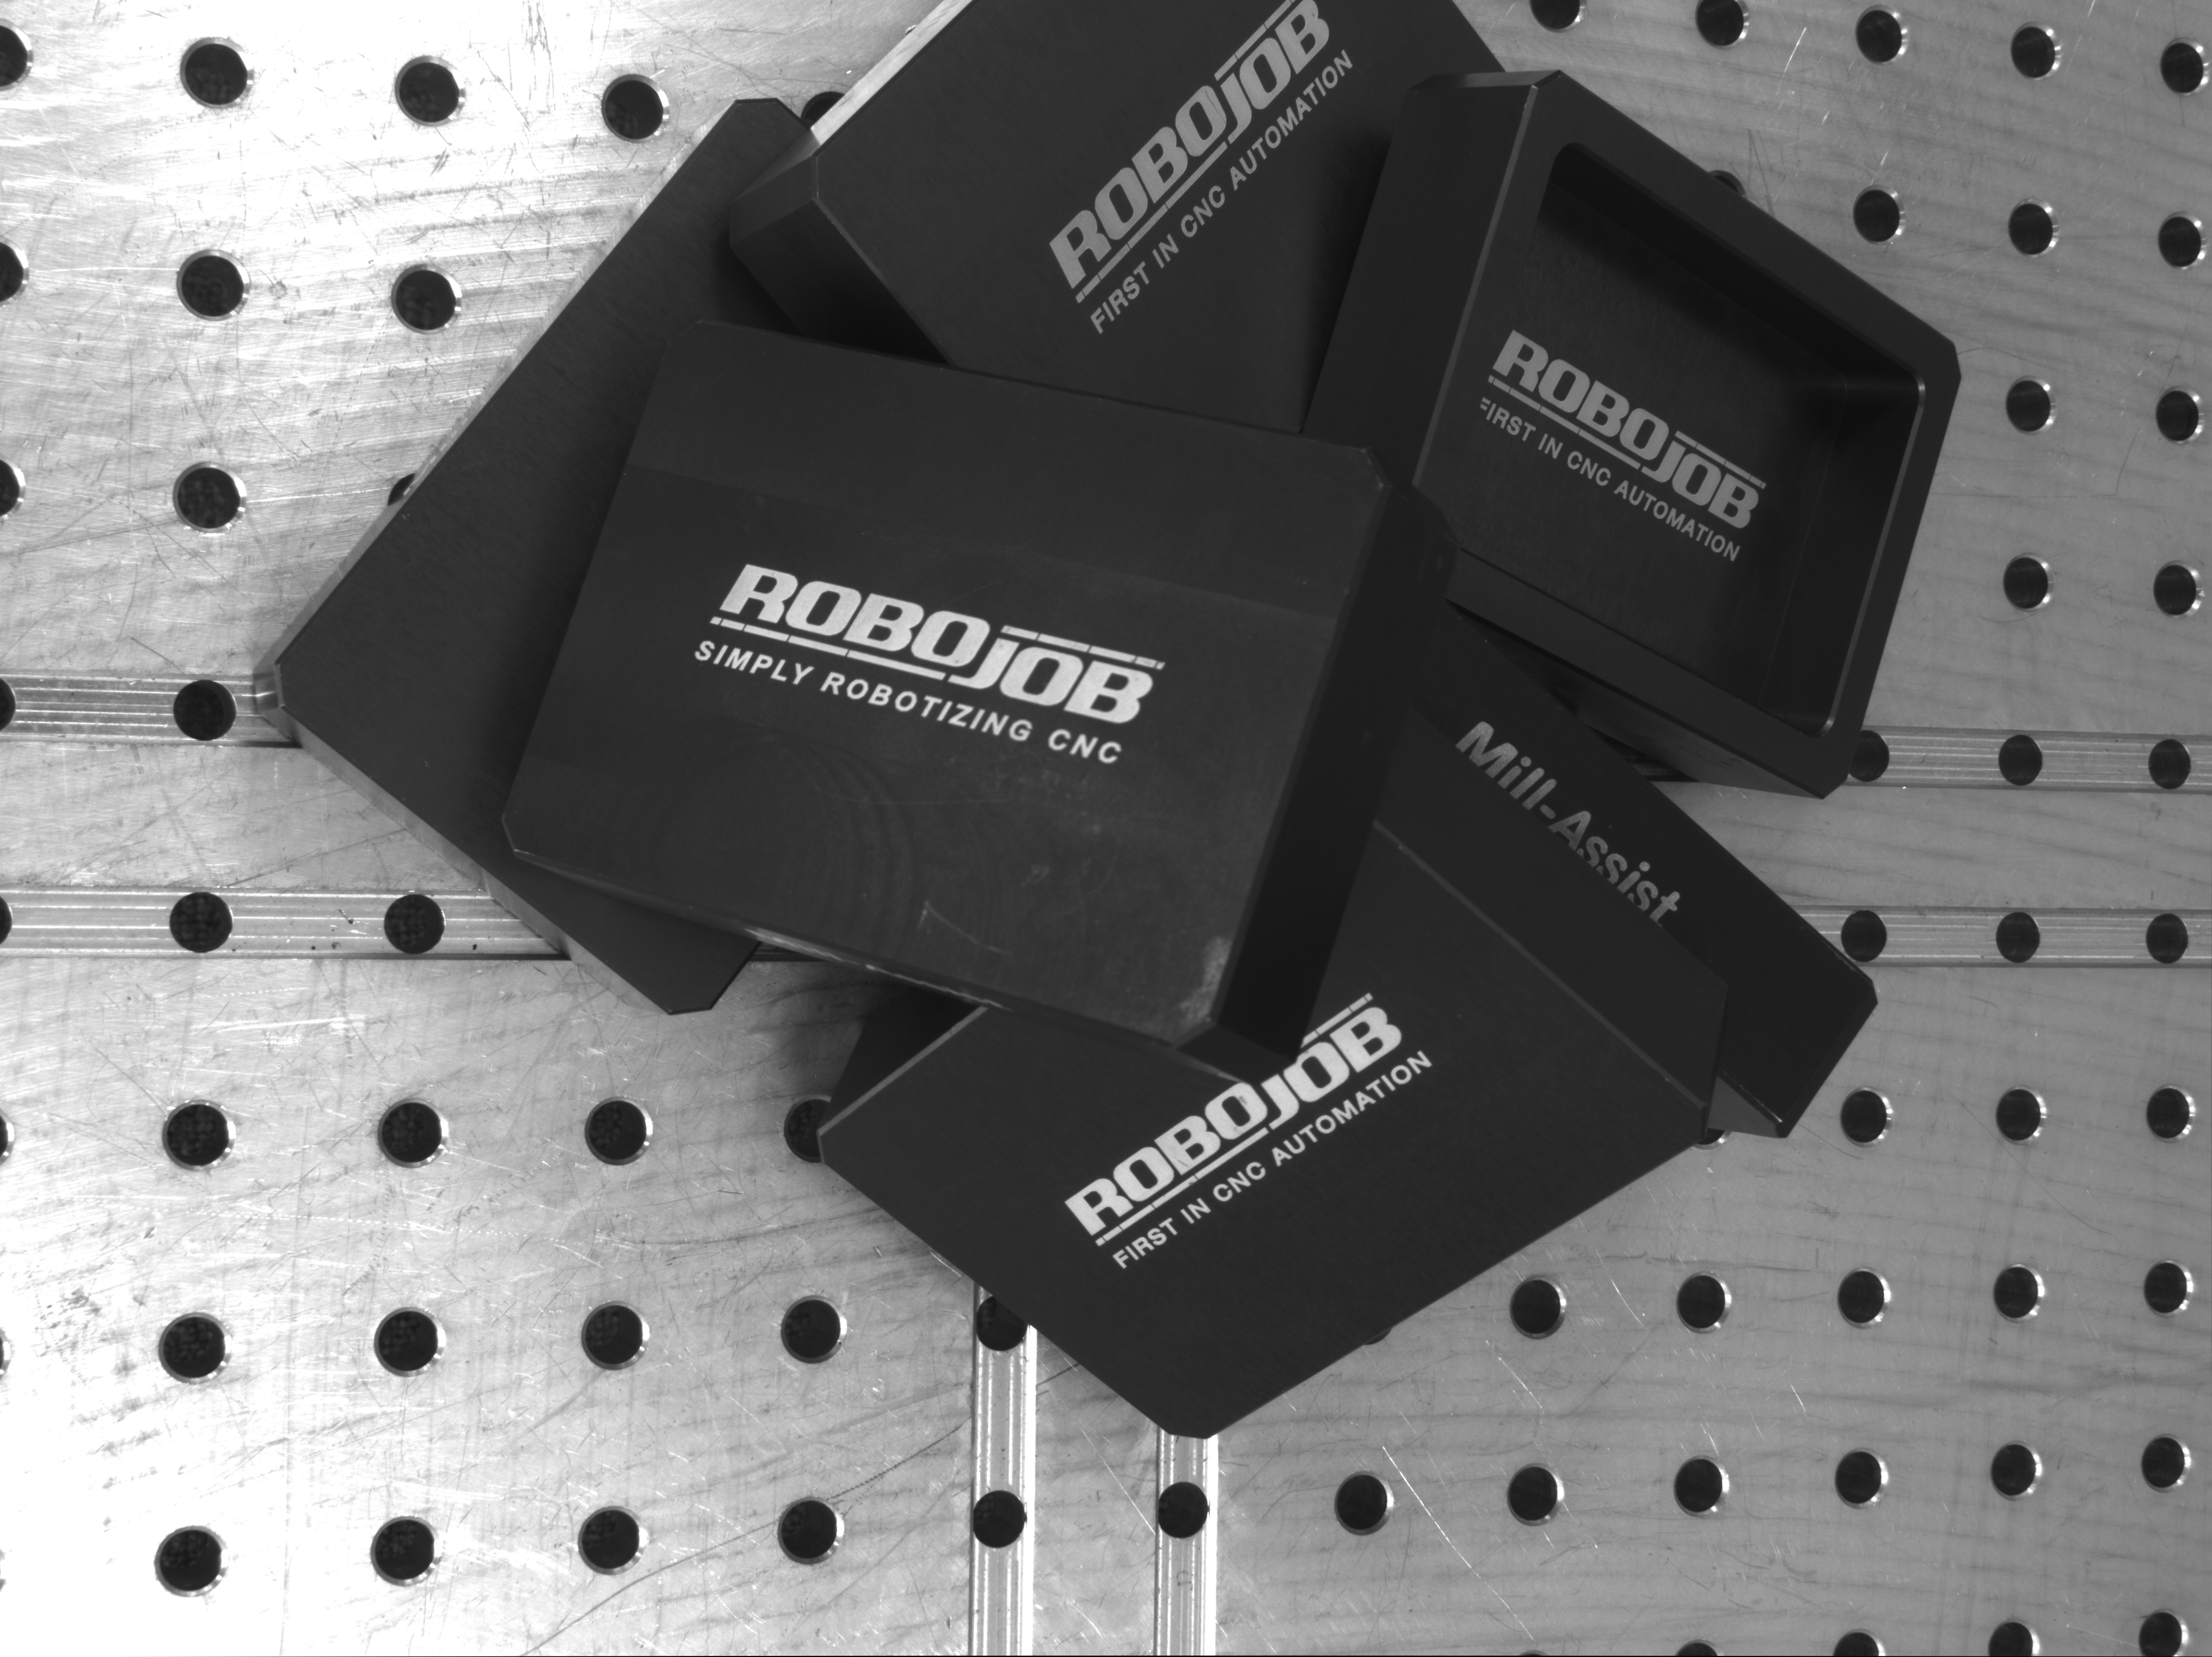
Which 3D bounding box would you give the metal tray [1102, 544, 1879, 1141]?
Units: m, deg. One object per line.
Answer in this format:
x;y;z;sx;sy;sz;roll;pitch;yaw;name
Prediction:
0.060;0.000;0.632;0.130;0.090;0.030;40;77;-15;metal tray

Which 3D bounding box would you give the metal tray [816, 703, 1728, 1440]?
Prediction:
0.026;0.041;0.604;0.090;0.130;0.030;40;39;-15;metal tray

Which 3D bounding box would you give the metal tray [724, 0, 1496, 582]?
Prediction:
0.008;-0.111;0.626;0.090;0.030;0.130;49;61;-16;metal tray

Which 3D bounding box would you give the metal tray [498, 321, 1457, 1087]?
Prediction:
-0.021;-0.021;0.558;0.030;0.130;0.090;30;77;-60;metal tray

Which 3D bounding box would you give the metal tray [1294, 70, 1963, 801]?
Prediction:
0.094;-0.067;0.651;0.130;0.030;0.090;23;82;-41;metal tray

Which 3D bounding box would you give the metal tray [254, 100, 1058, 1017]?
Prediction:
-0.068;-0.045;0.618;0.090;0.030;0.130;41;77;-16;metal tray
